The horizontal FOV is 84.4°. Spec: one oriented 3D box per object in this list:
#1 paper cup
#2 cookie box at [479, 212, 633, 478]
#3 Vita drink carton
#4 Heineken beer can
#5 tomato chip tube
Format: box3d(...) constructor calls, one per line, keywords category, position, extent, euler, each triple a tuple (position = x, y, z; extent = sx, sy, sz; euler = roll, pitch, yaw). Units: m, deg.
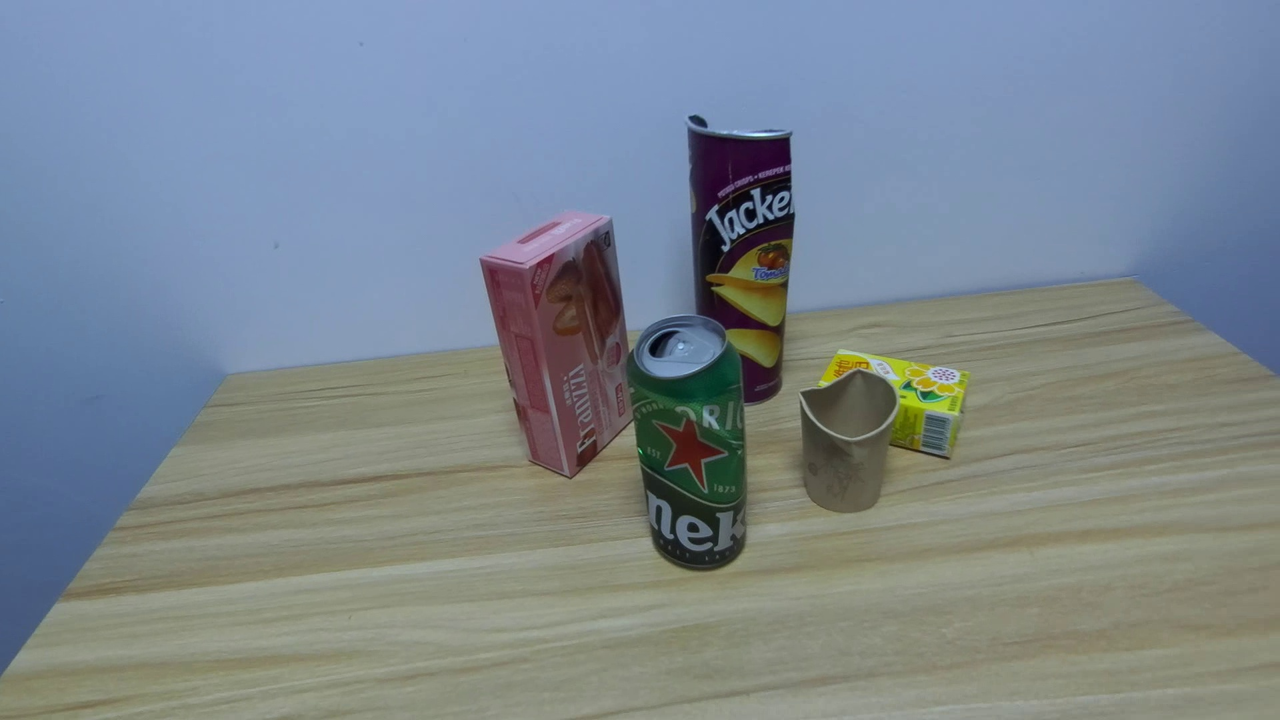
box3d(category="paper cup", position=(0.149, 0.061, 0.499), extent=(0.072, 0.084, 0.066), euler=(-19, 35, -21))
box3d(category="cookie box", position=(-0.055, -0.010, 0.551), extent=(0.048, 0.185, 0.096), euler=(14, 37, 31))
box3d(category="Vita drink carton", position=(0.204, 0.033, 0.576), extent=(0.108, 0.043, 0.067), euler=(13, 35, 27))
box3d(category="Heineken beer can", position=(0.033, 0.058, 0.448), extent=(0.069, 0.169, 0.068), euler=(-8, 34, 1))
box3d(category="tomato chip tube", position=(0.083, -0.078, 0.586), extent=(0.076, 0.235, 0.077), euler=(-5, 32, 1))
